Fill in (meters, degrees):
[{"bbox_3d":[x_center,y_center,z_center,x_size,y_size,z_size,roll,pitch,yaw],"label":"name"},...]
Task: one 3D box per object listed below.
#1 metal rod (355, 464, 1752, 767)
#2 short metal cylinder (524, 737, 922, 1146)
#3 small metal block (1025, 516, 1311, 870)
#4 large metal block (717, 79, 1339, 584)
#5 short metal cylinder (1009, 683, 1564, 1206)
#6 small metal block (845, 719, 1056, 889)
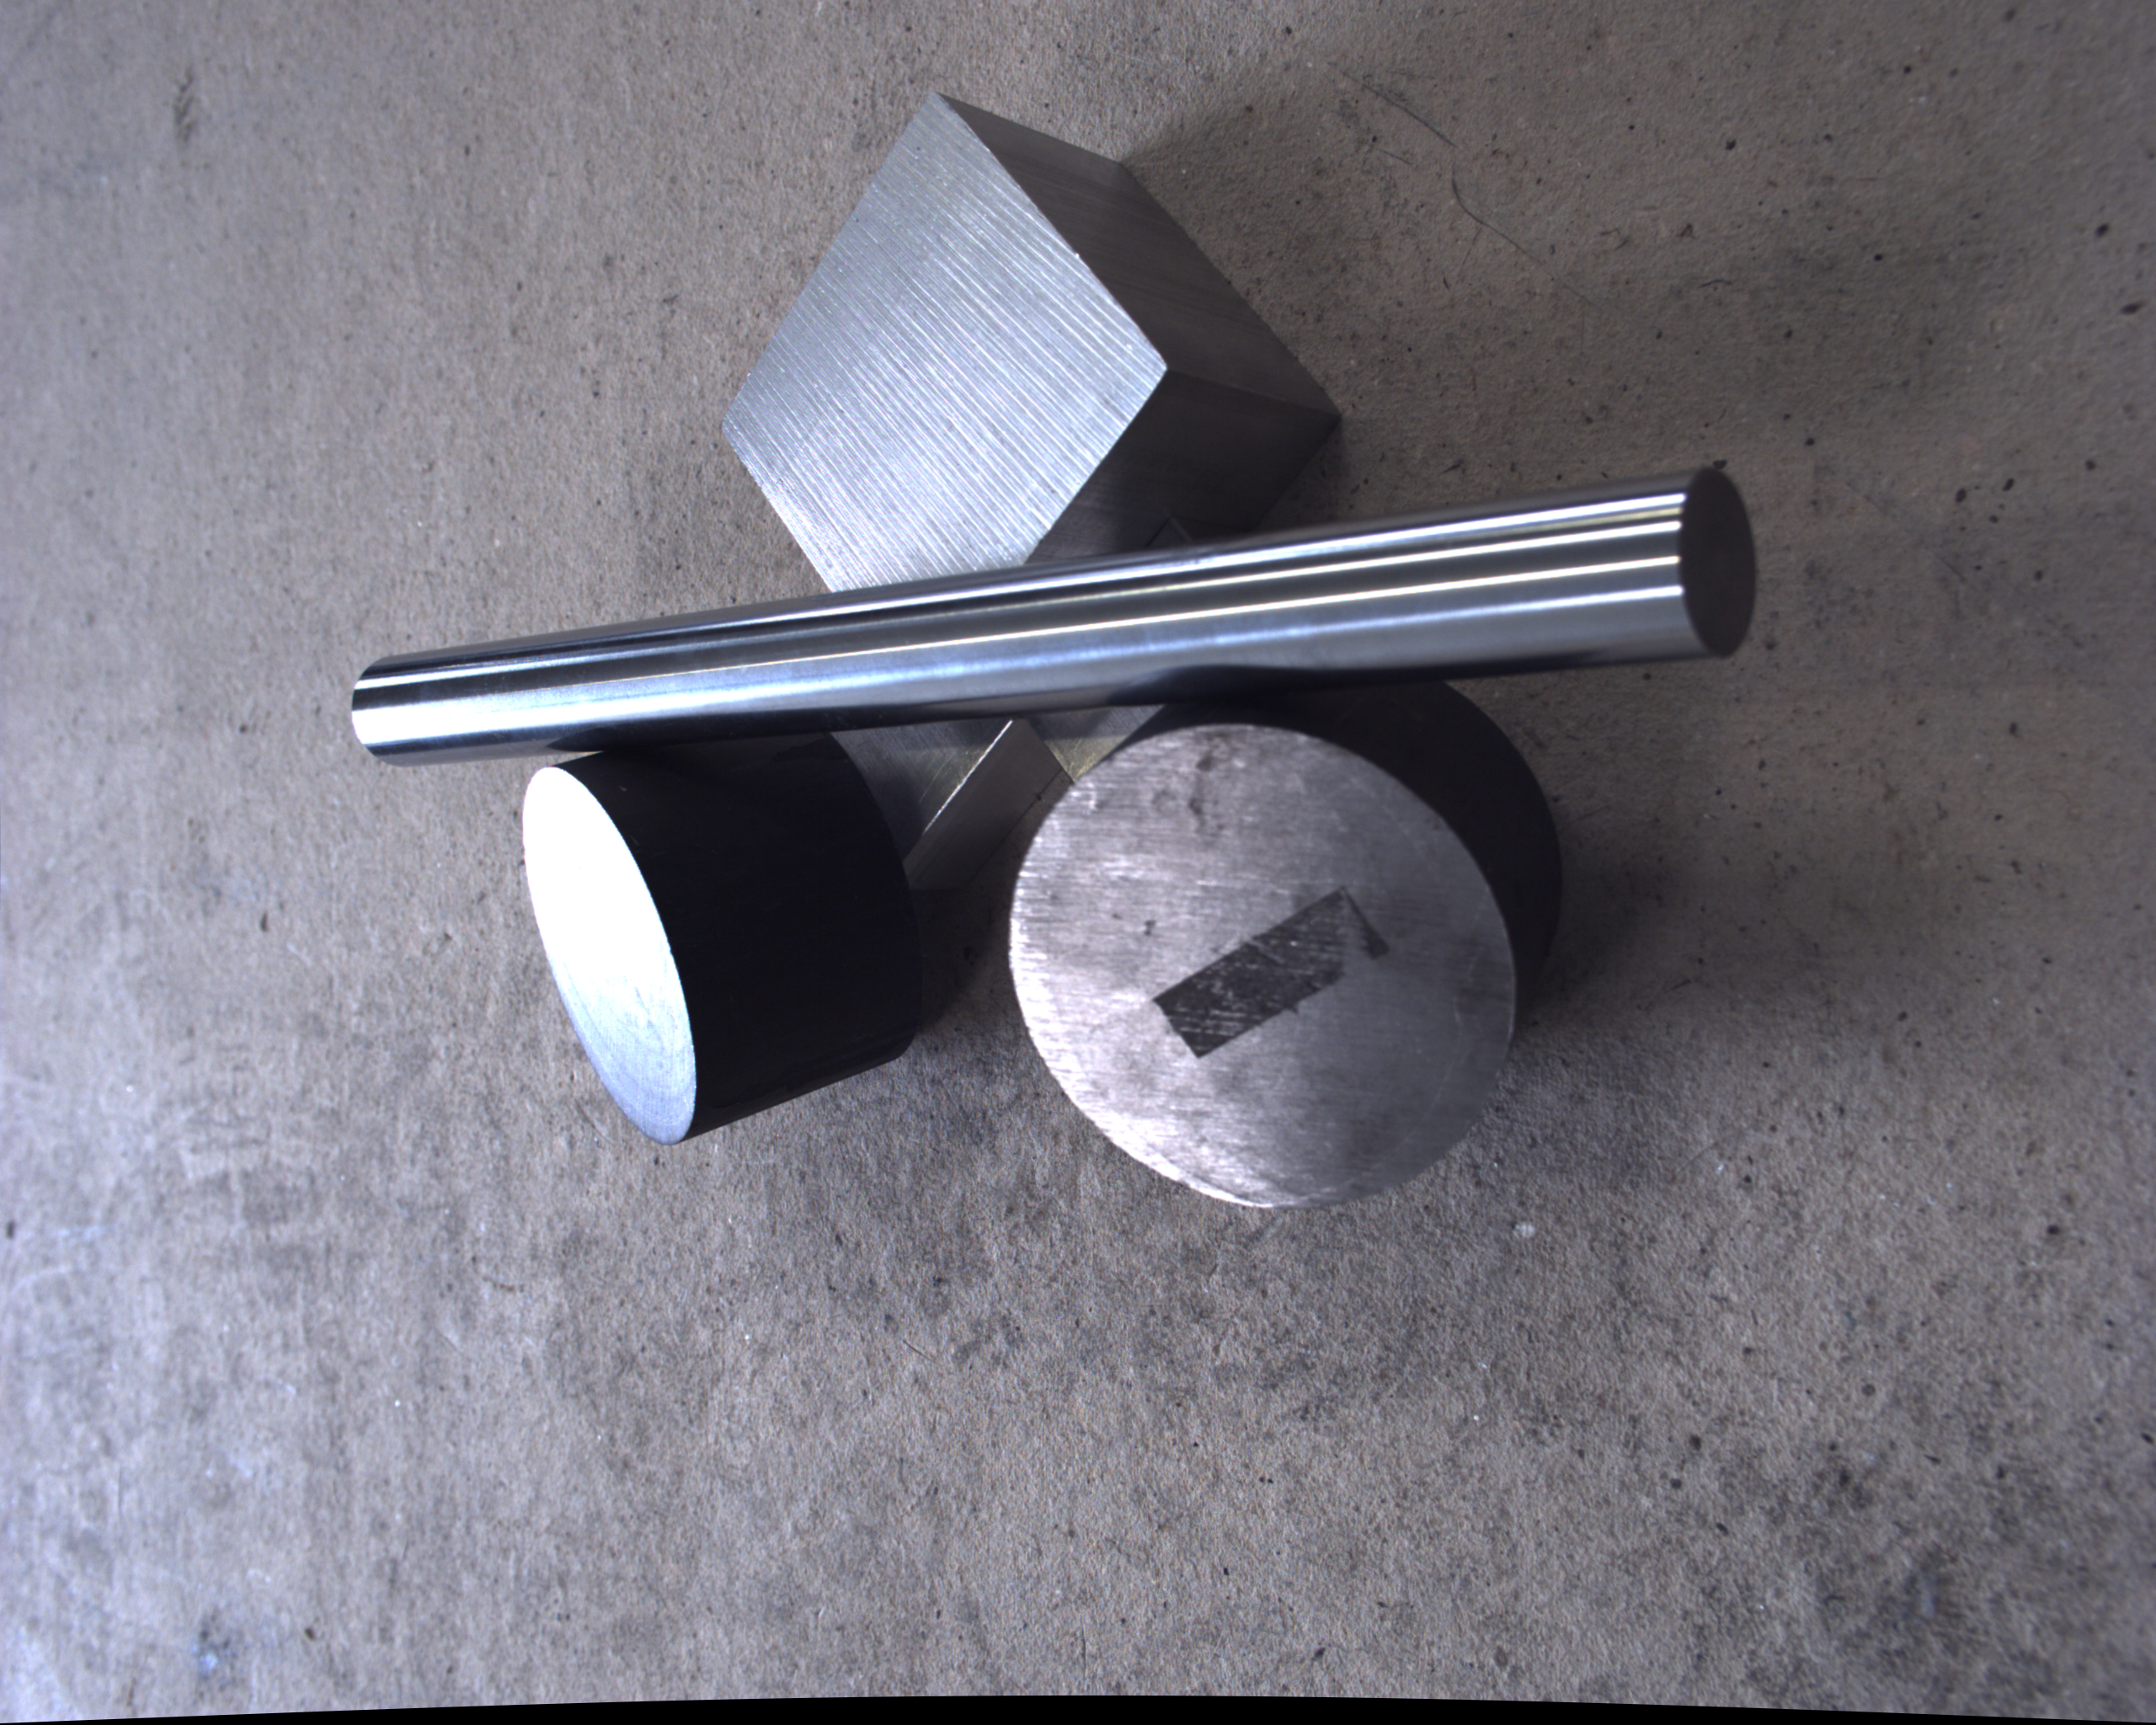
[{"bbox_3d":[-0.033,-0.036,0.366,0.300,0.025,0.025,-1,89,40],"label":"metal rod"},{"bbox_3d":[-0.075,0.012,0.433,0.080,0.050,0.079,35,135,45],"label":"short metal cylinder"},{"bbox_3d":[0.024,-0.027,0.386,0.050,0.025,0.050,-51,61,28],"label":"small metal block"},{"bbox_3d":[-0.012,-0.085,0.397,0.080,0.050,0.080,-50,61,28],"label":"large metal block"},{"bbox_3d":[0.035,0.009,0.343,0.080,0.050,0.079,7,110,19],"label":"short metal cylinder"},{"bbox_3d":[-0.031,-0.030,0.432,0.050,0.025,0.050,-50,61,27],"label":"small metal block"}]
